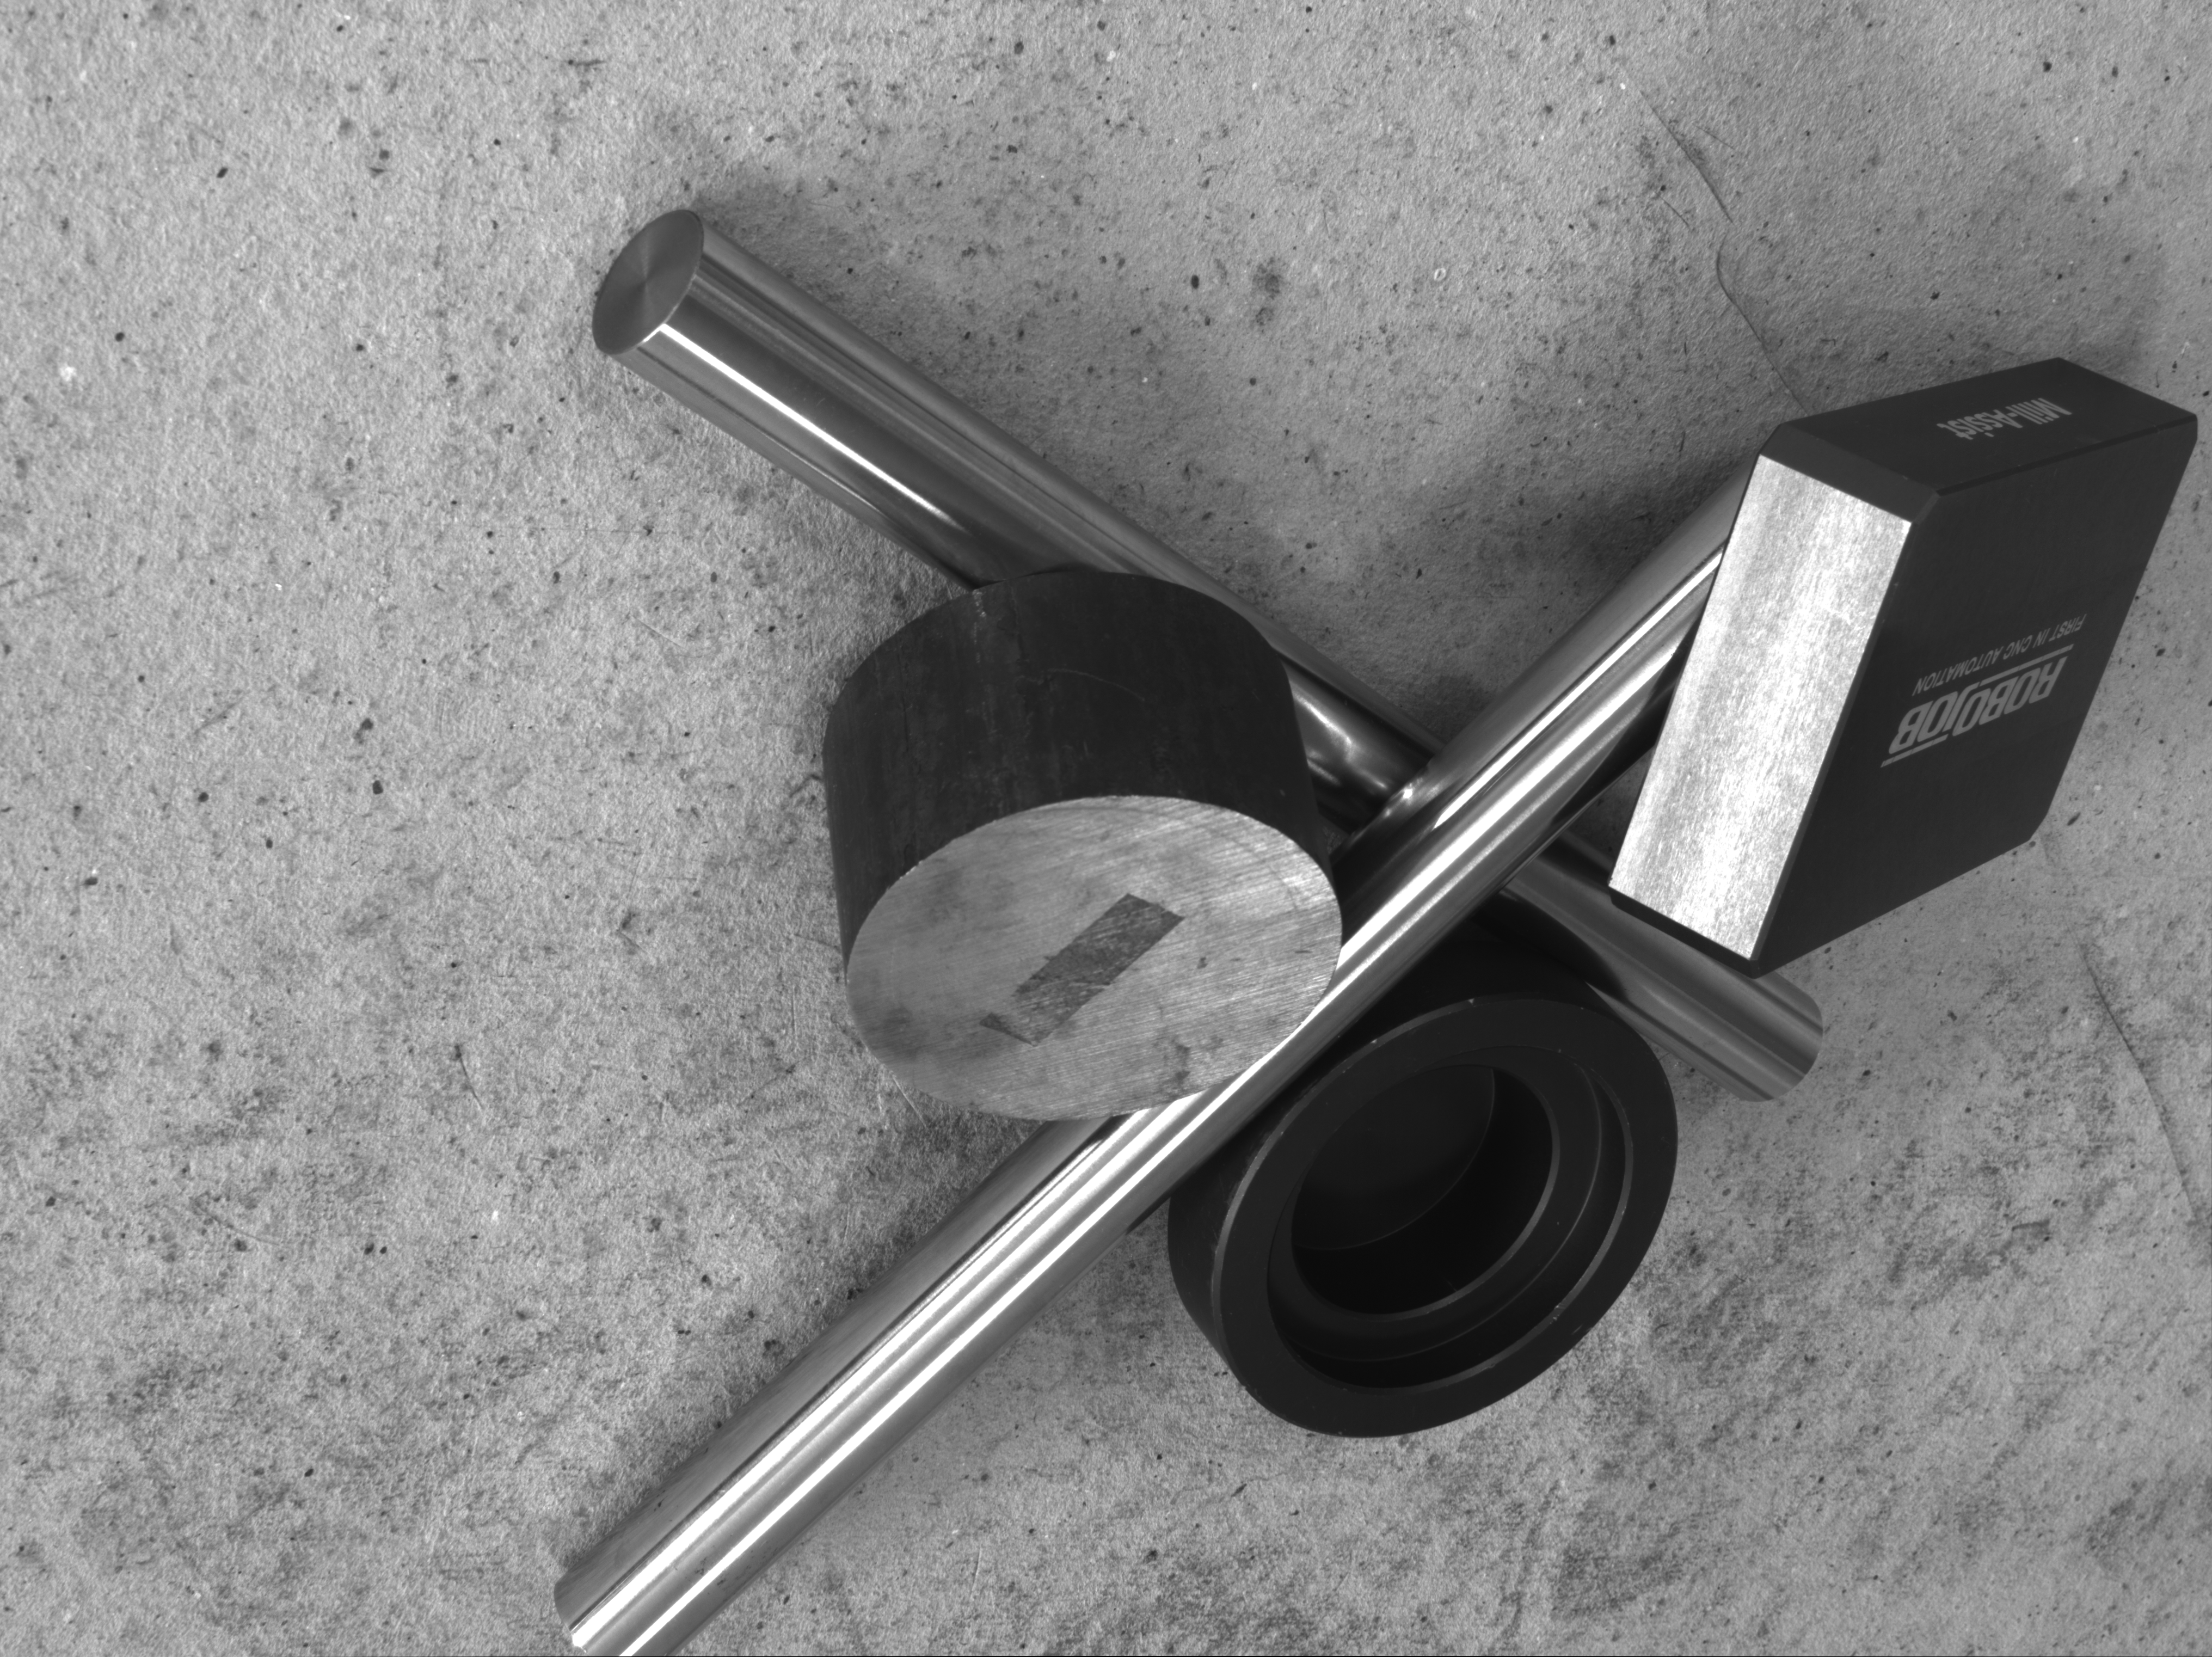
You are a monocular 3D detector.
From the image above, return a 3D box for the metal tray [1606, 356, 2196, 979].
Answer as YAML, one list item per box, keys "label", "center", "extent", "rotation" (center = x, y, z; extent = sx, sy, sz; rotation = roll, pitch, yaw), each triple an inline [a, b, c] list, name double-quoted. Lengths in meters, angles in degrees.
- label: "metal tray"
  center: [0.144, -0.032, 0.657]
  extent: [0.130, 0.030, 0.090]
  rotation: [-18, 131, -52]

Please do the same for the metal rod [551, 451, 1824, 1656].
- label: "metal rod"
  center: [0.013, 0.046, 0.651]
  extent: [0.300, 0.025, 0.025]
  rotation: [-44, 129, 10]

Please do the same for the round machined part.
- label: "round machined part"
  center: [0.055, 0.063, 0.695]
  extent: [0.098, 0.042, 0.098]
  rotation: [-13, 124, -21]

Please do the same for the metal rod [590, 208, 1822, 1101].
- label: "metal rod"
  center: [0.032, -0.020, 0.644]
  extent: [0.301, 0.025, 0.025]
  rotation: [32, 100, -38]

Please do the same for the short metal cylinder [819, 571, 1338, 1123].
- label: "short metal cylinder"
  center: [-0.005, 0.004, 0.605]
  extent: [0.080, 0.050, 0.080]
  rotation: [-6, 138, -5]
